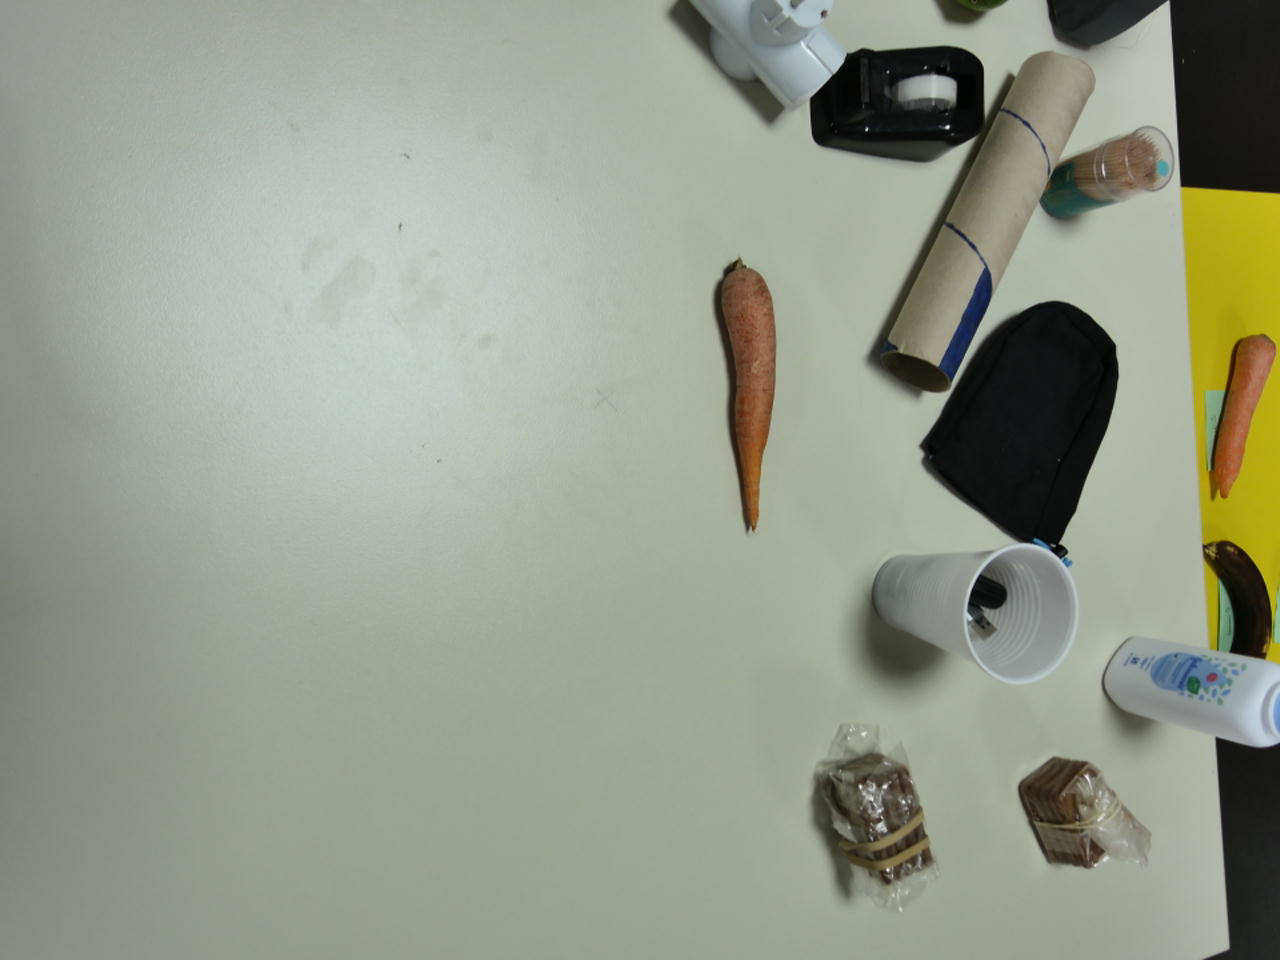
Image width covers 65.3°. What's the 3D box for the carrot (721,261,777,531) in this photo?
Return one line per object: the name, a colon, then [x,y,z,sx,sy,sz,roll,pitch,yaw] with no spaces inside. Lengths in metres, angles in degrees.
carrot: [0.069,-0.050,0.601,0.031,0.029,0.163,-6,93,-22]
